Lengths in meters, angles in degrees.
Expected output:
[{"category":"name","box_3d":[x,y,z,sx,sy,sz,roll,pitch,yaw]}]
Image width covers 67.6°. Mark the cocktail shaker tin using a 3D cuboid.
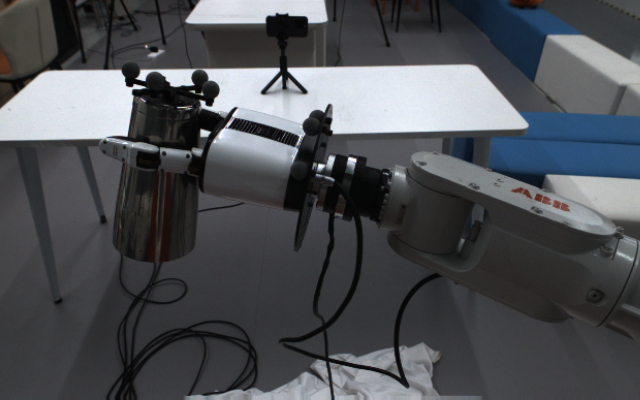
[{"category":"cocktail shaker tin","box_3d":[-0.169,-0.031,0.527,0.093,0.170,0.093,12,25,-6]}]
